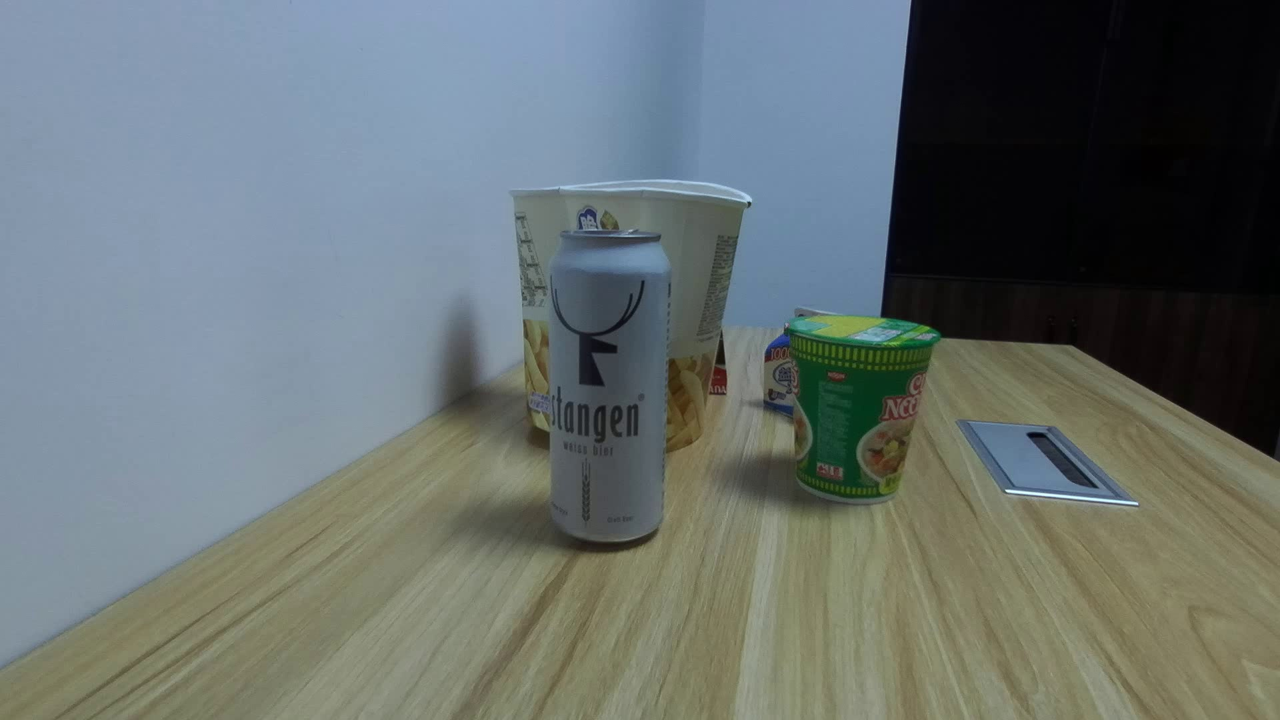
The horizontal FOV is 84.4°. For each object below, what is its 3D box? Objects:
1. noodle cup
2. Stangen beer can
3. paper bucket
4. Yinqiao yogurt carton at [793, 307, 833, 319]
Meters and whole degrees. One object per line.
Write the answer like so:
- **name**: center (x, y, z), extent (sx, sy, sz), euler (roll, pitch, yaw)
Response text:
- **noodle cup**: center (0.143, 0.031, 0.471), extent (0.097, 0.110, 0.097), euler (0, 15, 0)
- **Stangen beer can**: center (-0.017, 0.015, 0.398), extent (0.067, 0.171, 0.067), euler (2, 13, 0)
- **paper bucket**: center (-0.014, -0.040, 0.561), extent (0.217, 0.199, 0.148), euler (5, 14, 16)
- **Yinqiao yogurt carton**: center (0.144, 0.002, 0.577), extent (0.071, 0.094, 0.077), euler (-12, 15, -12)
